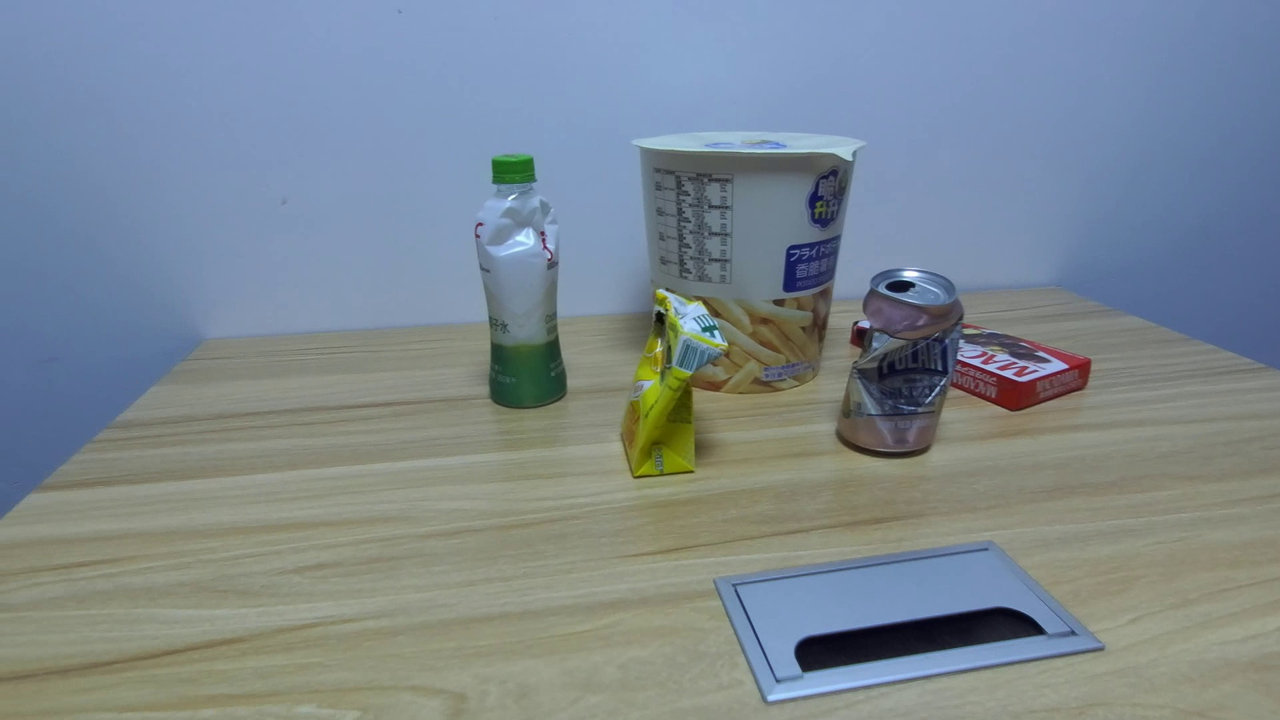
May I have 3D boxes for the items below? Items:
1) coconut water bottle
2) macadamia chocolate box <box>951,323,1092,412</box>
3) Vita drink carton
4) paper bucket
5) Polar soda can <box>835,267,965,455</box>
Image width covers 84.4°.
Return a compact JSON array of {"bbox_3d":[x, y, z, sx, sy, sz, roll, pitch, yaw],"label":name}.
[{"bbox_3d":[-0.093,-0.059,0.547,0.069,0.186,0.069,-1,21,1],"label":"coconut water bottle"},{"bbox_3d":[0.290,-0.008,0.639,0.106,0.028,0.182,-13,25,-27],"label":"macadamia chocolate box"},{"bbox_3d":[0.023,0.017,0.469,0.042,0.108,0.087,10,21,-11],"label":"Vita drink carton"},{"bbox_3d":[0.088,-0.088,0.608,0.198,0.194,0.198,-1,22,1],"label":"paper bucket"},{"bbox_3d":[0.175,0.005,0.480,0.066,0.122,0.071,19,29,29],"label":"Polar soda can"}]
